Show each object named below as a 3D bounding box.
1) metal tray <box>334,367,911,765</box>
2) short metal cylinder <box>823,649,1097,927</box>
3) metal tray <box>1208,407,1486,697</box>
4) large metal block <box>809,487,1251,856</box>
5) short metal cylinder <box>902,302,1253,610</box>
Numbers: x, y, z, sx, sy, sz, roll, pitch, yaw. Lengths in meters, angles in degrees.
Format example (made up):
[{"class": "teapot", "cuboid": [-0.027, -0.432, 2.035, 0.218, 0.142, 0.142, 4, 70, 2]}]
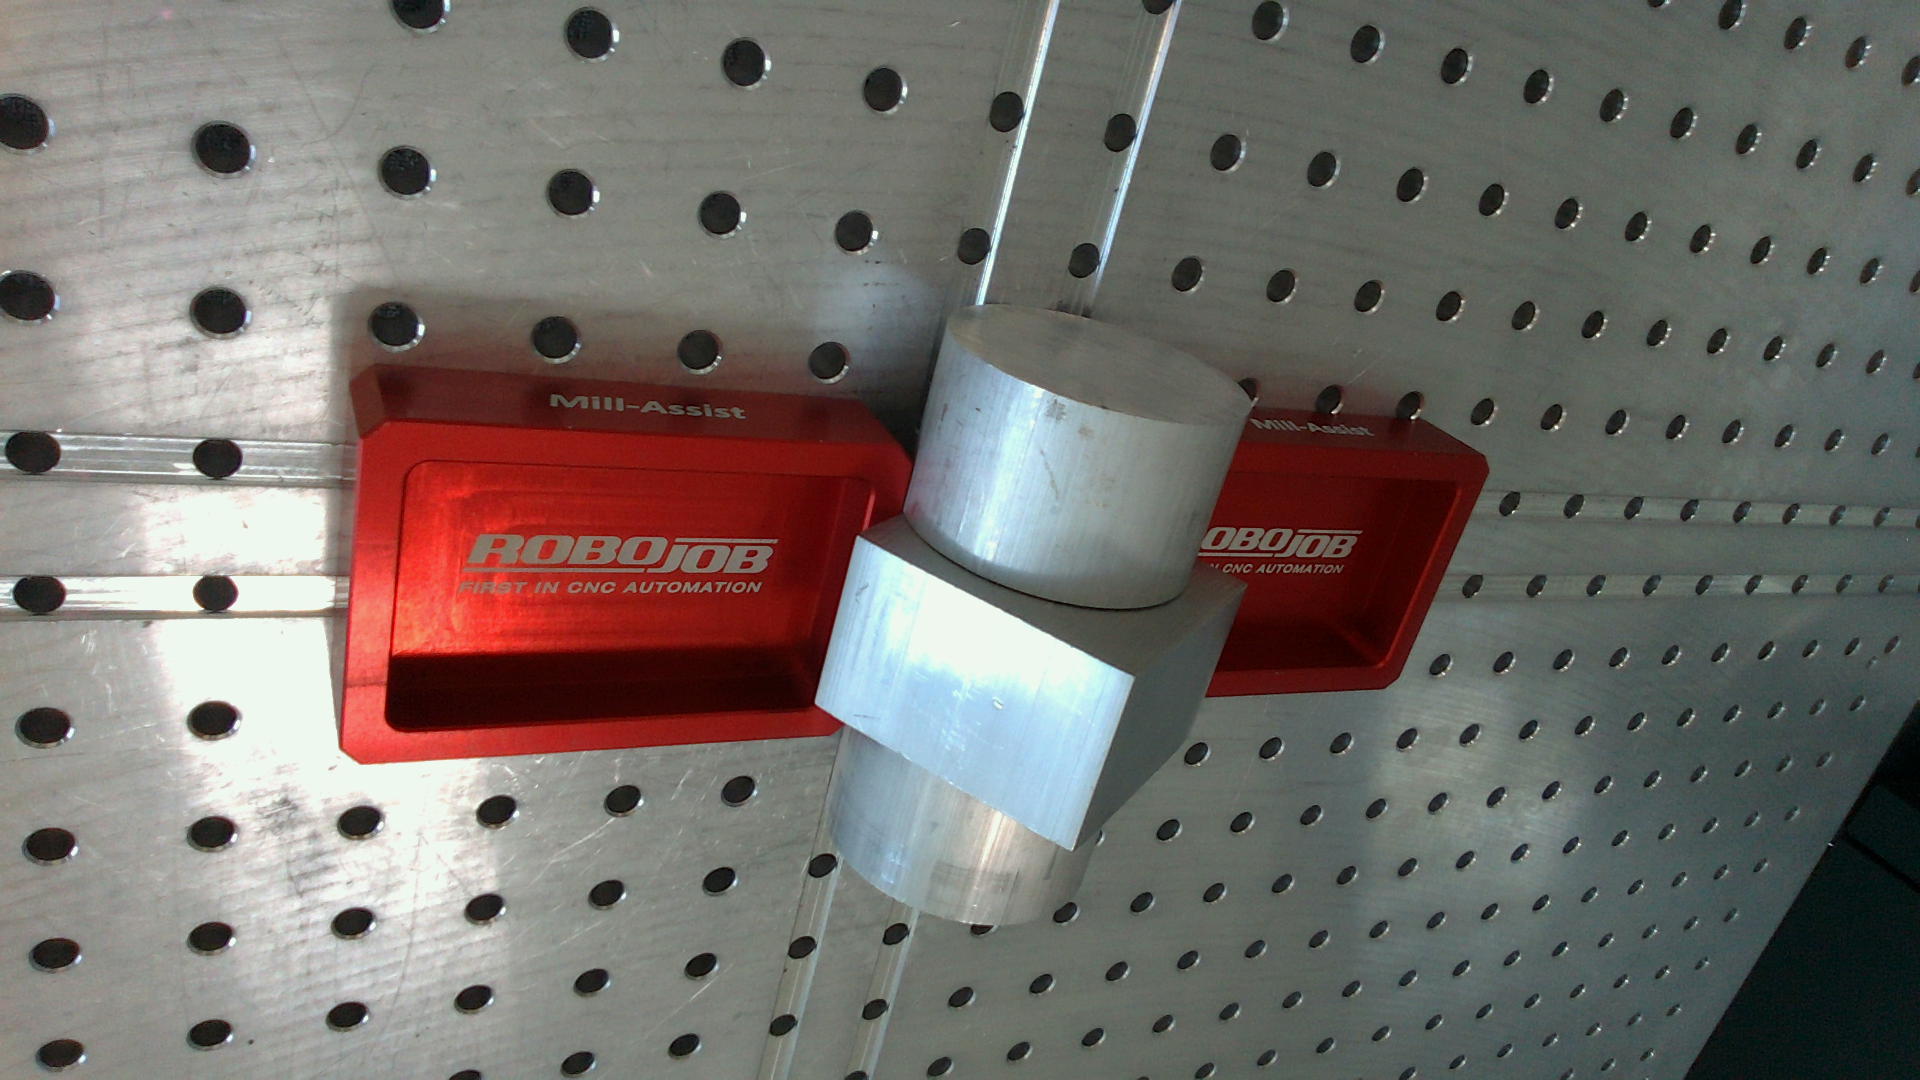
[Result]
[{"class": "metal tray", "cuboid": [-0.084, 0.008, 0.347, 0.130, 0.030, 0.090, 1, 118, -29]}, {"class": "short metal cylinder", "cuboid": [0.005, 0.065, 0.399, 0.080, 0.080, 0.050, 2, 118, -29]}, {"class": "metal tray", "cuboid": [0.099, 0.005, 0.445, 0.130, 0.030, 0.090, 1, 118, -29]}, {"class": "large metal block", "cuboid": [0.020, 0.027, 0.366, 0.080, 0.080, 0.050, -26, 137, -57]}, {"class": "short metal cylinder", "cuboid": [0.029, -0.024, 0.357, 0.080, 0.080, 0.050, 1, 118, -29]}]
